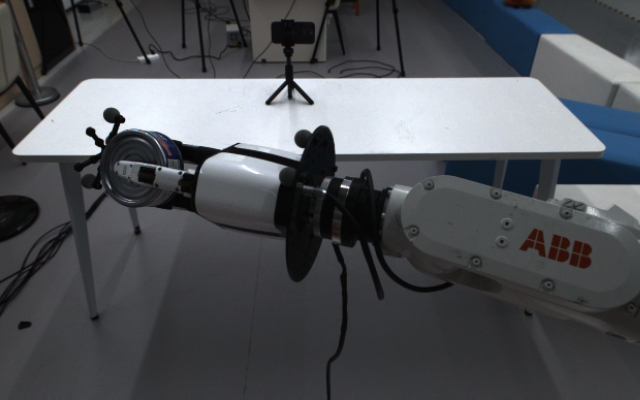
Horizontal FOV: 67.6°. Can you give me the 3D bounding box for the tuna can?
[{"bbox_3d":[-0.194,-0.035,0.531,0.085,0.085,0.034,12,5,14],"label":"tuna can"}]
